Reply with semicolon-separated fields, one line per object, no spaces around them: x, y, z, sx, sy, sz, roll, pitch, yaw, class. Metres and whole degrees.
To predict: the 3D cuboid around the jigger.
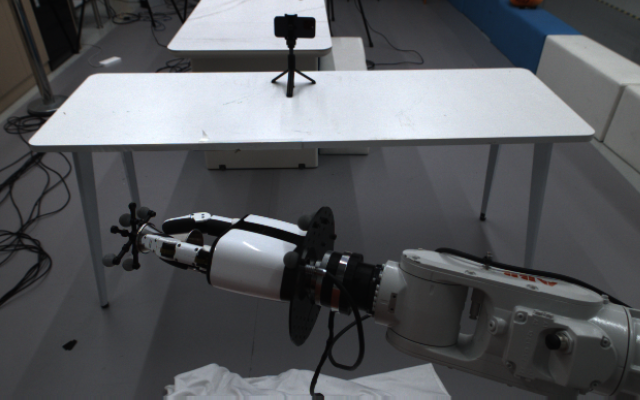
-0.178;0.049;0.594;0.071;0.043;0.043;7;35;15;jigger
